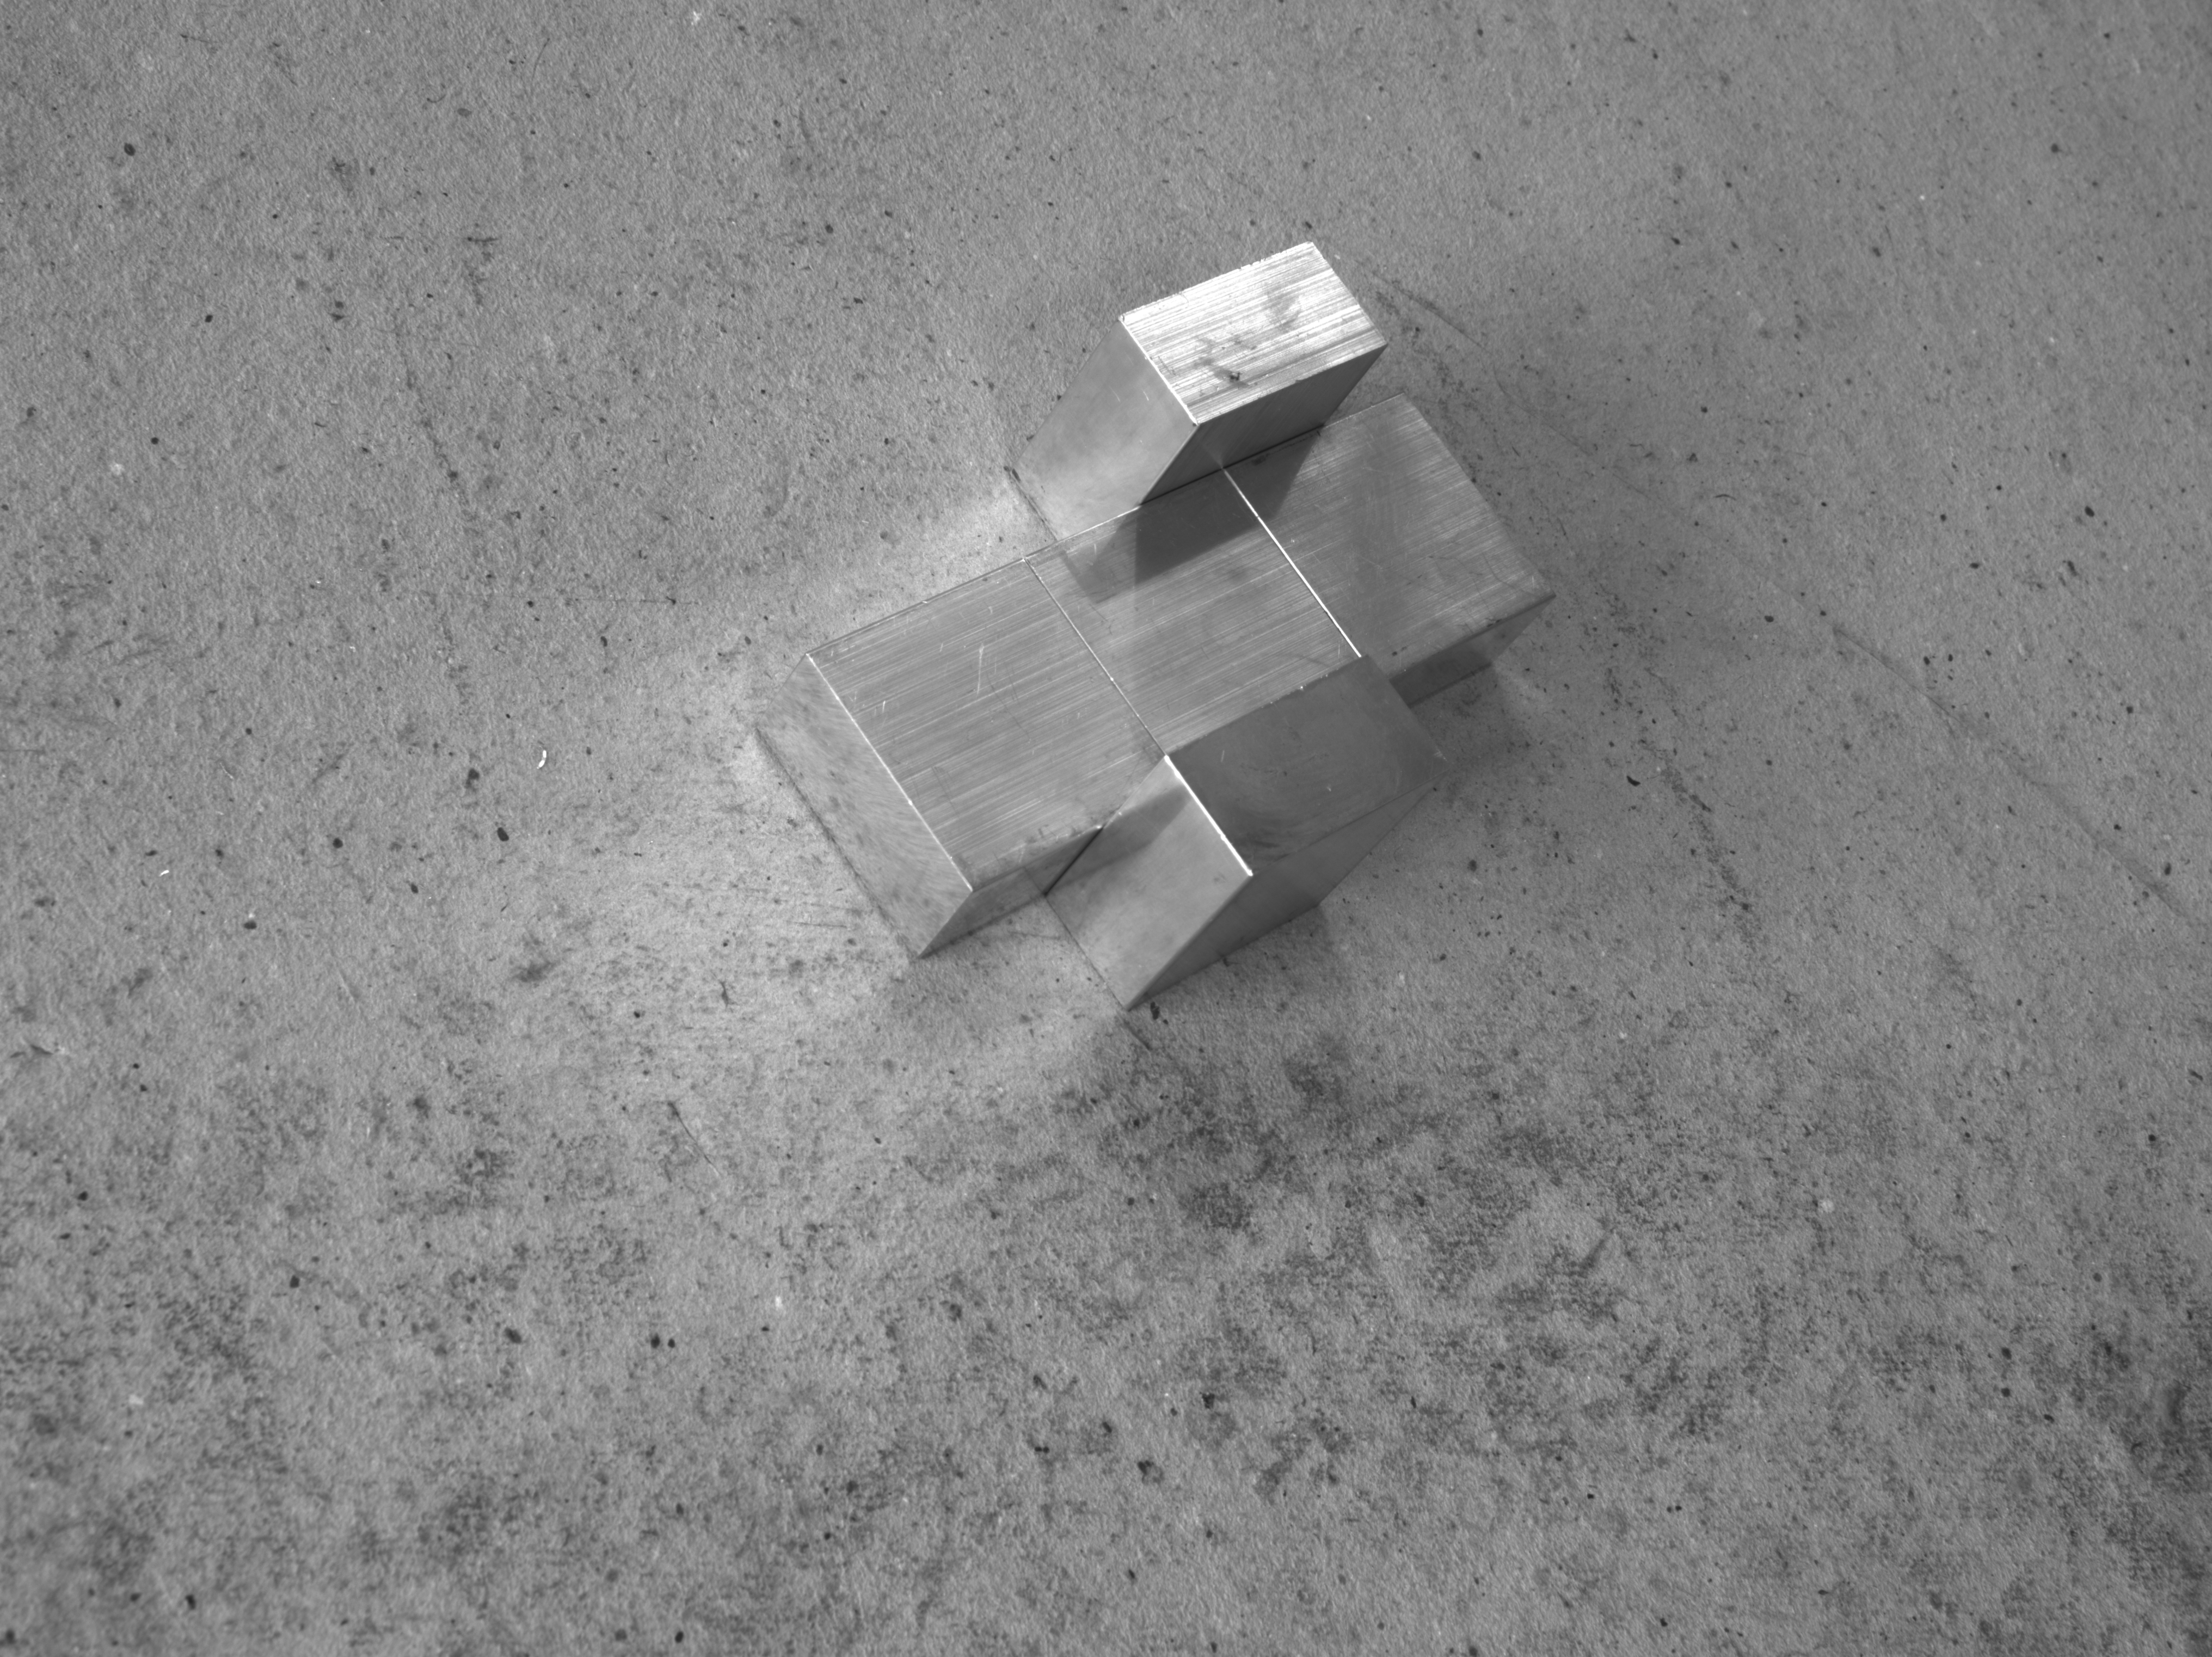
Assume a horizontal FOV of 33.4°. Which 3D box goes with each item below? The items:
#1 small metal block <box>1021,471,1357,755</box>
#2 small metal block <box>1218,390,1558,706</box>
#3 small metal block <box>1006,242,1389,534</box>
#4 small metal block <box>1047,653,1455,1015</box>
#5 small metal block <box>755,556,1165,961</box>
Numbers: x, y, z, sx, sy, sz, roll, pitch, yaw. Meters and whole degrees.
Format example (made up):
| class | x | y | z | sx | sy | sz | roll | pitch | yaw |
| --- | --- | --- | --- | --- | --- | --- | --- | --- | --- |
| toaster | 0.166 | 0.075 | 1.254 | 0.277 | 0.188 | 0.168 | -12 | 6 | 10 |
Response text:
| class | x | y | z | sx | sy | sz | roll | pitch | yaw |
| --- | --- | --- | --- | --- | --- | --- | --- | --- | --- |
| small metal block | 0.013 | -0.031 | 0.665 | 0.050 | 0.025 | 0.050 | -27 | 77 | -37 |
| small metal block | 0.048 | -0.049 | 0.696 | 0.050 | 0.025 | 0.050 | -27 | 77 | -37 |
| small metal block | 0.017 | -0.077 | 0.680 | 0.050 | 0.050 | 0.025 | -27 | 76 | -36 |
| small metal block | 0.025 | 0.001 | 0.637 | 0.050 | 0.050 | 0.025 | -28 | 76 | -37 |
| small metal block | -0.023 | -0.013 | 0.635 | 0.050 | 0.025 | 0.050 | -27 | 77 | -37 |
